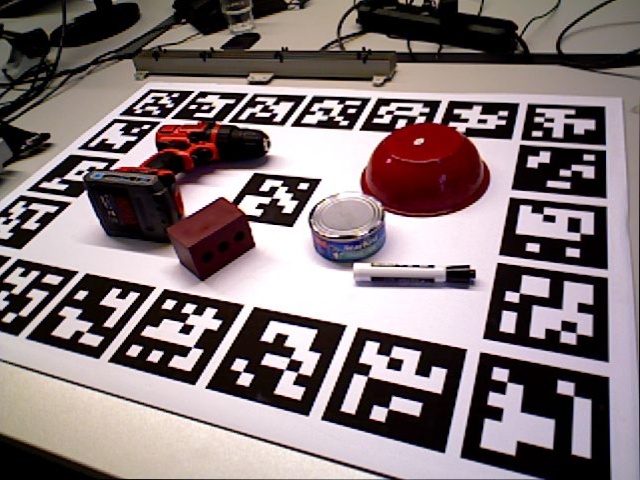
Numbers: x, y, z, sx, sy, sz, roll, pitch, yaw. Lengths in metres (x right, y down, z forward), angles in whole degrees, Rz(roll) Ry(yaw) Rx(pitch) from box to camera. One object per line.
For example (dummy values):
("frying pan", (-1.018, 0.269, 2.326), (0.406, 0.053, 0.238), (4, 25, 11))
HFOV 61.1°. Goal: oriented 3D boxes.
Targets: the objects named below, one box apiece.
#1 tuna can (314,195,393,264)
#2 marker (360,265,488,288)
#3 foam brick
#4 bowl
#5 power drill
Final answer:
("tuna can", (0.037, -0.014, 0.590), (0.085, 0.034, 0.084), (-5, 42, 4))
("marker", (0.100, 0.035, 0.530), (0.121, 0.020, 0.019), (1, 44, 13))
("foam brick", (-0.118, 0.007, 0.600), (0.051, 0.054, 0.076), (30, 56, 35))
("bowl", (0.127, -0.091, 0.658), (0.161, 0.056, 0.159), (-8, 33, 4))
("power drill", (-0.189, -0.084, 0.712), (0.185, 0.058, 0.182), (9, 42, 17))
